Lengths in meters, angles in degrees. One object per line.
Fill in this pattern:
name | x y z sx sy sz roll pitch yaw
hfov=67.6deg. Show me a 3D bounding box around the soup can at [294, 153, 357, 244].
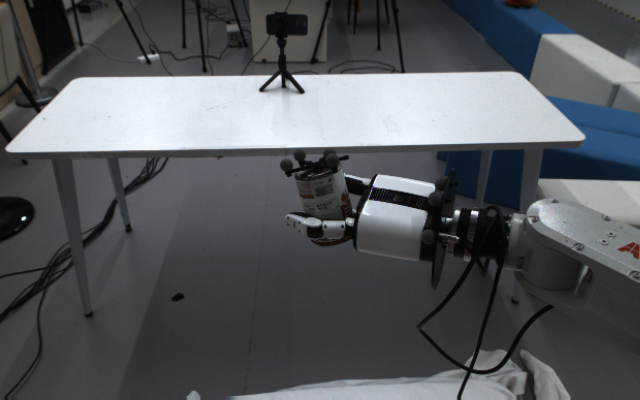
soup can | 0.010 0.004 0.666 0.067 0.101 0.067 -13 20 5
